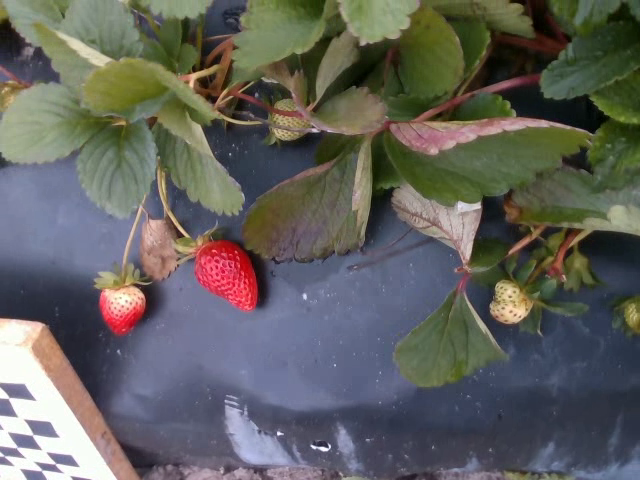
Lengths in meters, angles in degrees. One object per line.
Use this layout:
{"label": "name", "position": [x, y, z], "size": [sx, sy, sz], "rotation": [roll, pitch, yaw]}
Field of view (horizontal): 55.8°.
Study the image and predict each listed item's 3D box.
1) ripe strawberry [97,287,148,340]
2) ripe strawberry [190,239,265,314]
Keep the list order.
{"label": "ripe strawberry", "position": [-0.132, 0.046, 0.392], "size": [0.036, 0.041, 0.028], "rotation": [10, 27, 18]}
{"label": "ripe strawberry", "position": [-0.058, 0.023, 0.369], "size": [0.041, 0.059, 0.044], "rotation": [-41, 5, -42]}
